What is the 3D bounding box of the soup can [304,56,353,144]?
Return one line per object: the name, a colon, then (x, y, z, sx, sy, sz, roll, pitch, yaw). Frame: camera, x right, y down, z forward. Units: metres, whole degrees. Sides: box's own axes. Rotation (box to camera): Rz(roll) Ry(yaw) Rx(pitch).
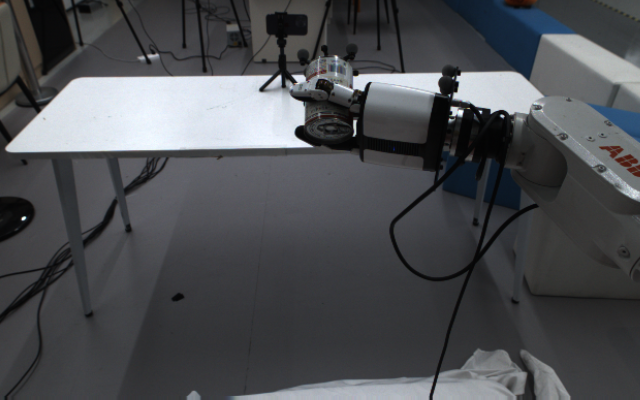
soup can: (0.013, -0.137, 0.660, 0.067, 0.067, 0.101, 2, 68, -1)
